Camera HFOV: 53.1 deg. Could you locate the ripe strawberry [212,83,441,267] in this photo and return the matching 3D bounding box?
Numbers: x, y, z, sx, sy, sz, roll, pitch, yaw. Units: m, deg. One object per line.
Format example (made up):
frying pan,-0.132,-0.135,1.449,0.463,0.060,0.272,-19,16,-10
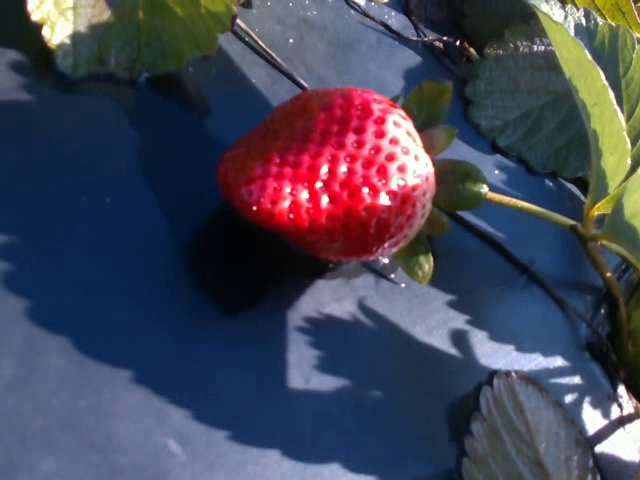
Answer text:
ripe strawberry,0.000,-0.011,0.124,0.045,0.041,0.056,4,15,40
